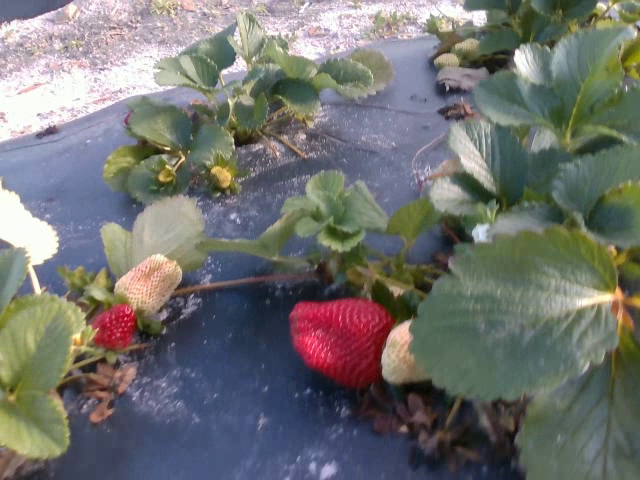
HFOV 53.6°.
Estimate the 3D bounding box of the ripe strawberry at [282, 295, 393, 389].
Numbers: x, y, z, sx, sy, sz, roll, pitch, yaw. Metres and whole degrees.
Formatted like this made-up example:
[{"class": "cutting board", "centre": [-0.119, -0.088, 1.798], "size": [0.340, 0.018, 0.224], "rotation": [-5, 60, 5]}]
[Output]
[{"class": "ripe strawberry", "centre": [0.010, 0.056, 0.351], "size": [0.070, 0.058, 0.057], "rotation": [25, -20, -19]}]
